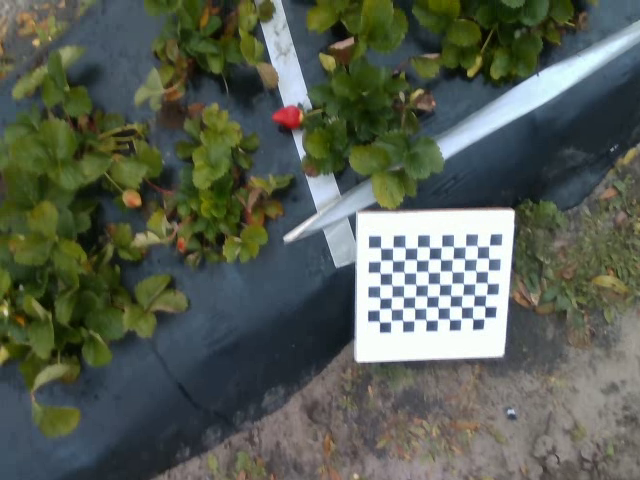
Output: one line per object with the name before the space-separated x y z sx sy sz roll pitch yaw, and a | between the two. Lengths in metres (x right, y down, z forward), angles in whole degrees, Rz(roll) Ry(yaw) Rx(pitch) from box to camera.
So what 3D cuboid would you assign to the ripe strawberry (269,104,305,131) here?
ripe strawberry | -0.056 -0.190 1.842 0.051 0.042 0.037 -6 19 -18
